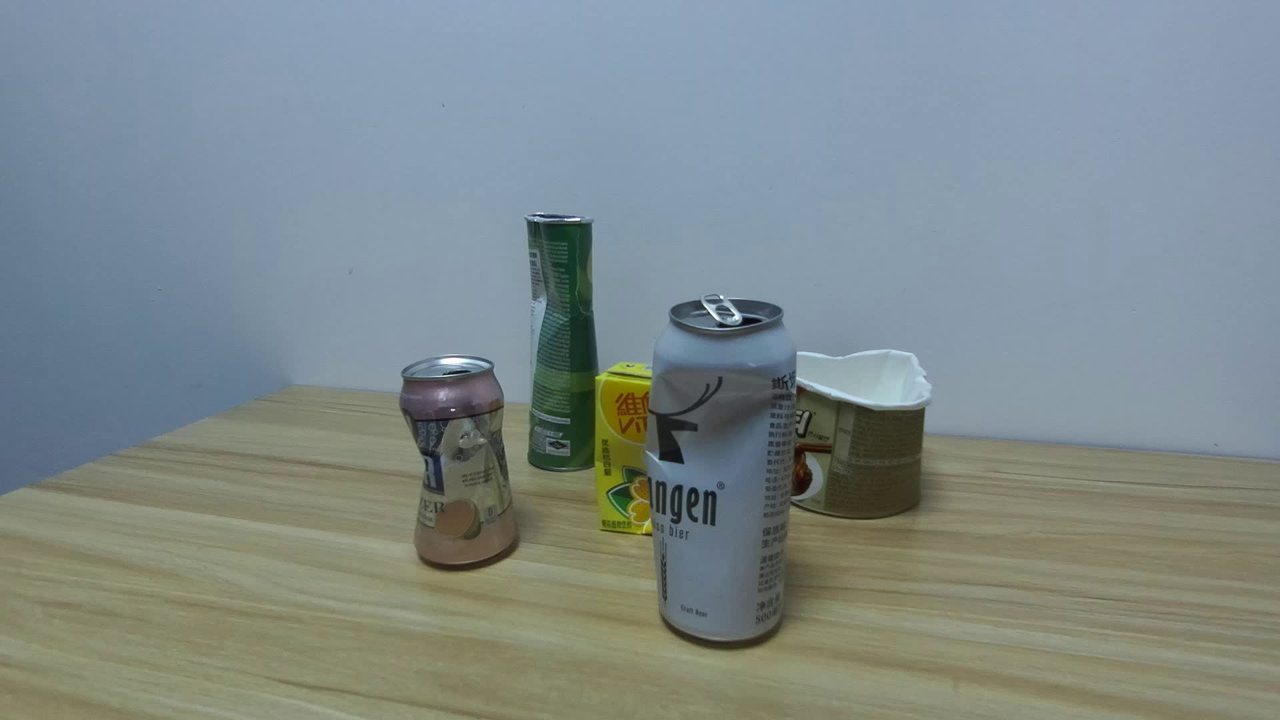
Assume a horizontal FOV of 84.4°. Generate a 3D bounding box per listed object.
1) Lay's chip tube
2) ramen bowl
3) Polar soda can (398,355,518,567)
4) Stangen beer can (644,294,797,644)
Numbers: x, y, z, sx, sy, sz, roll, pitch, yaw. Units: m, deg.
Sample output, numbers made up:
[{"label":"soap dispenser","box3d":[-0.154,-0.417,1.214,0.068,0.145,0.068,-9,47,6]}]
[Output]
[{"label":"Lay's chip tube","box3d":[-0.062,-0.014,0.571,0.074,0.199,0.069,4,16,20]},{"label":"ramen bowl","box3d":[0.152,0.051,0.510,0.113,0.097,0.133,0,14,1]},{"label":"Polar soda can","box3d":[-0.114,0.064,0.442,0.067,0.122,0.074,3,13,23]},{"label":"Stangen beer can","box3d":[0.041,0.055,0.353,0.070,0.173,0.070,-8,18,-22]}]
